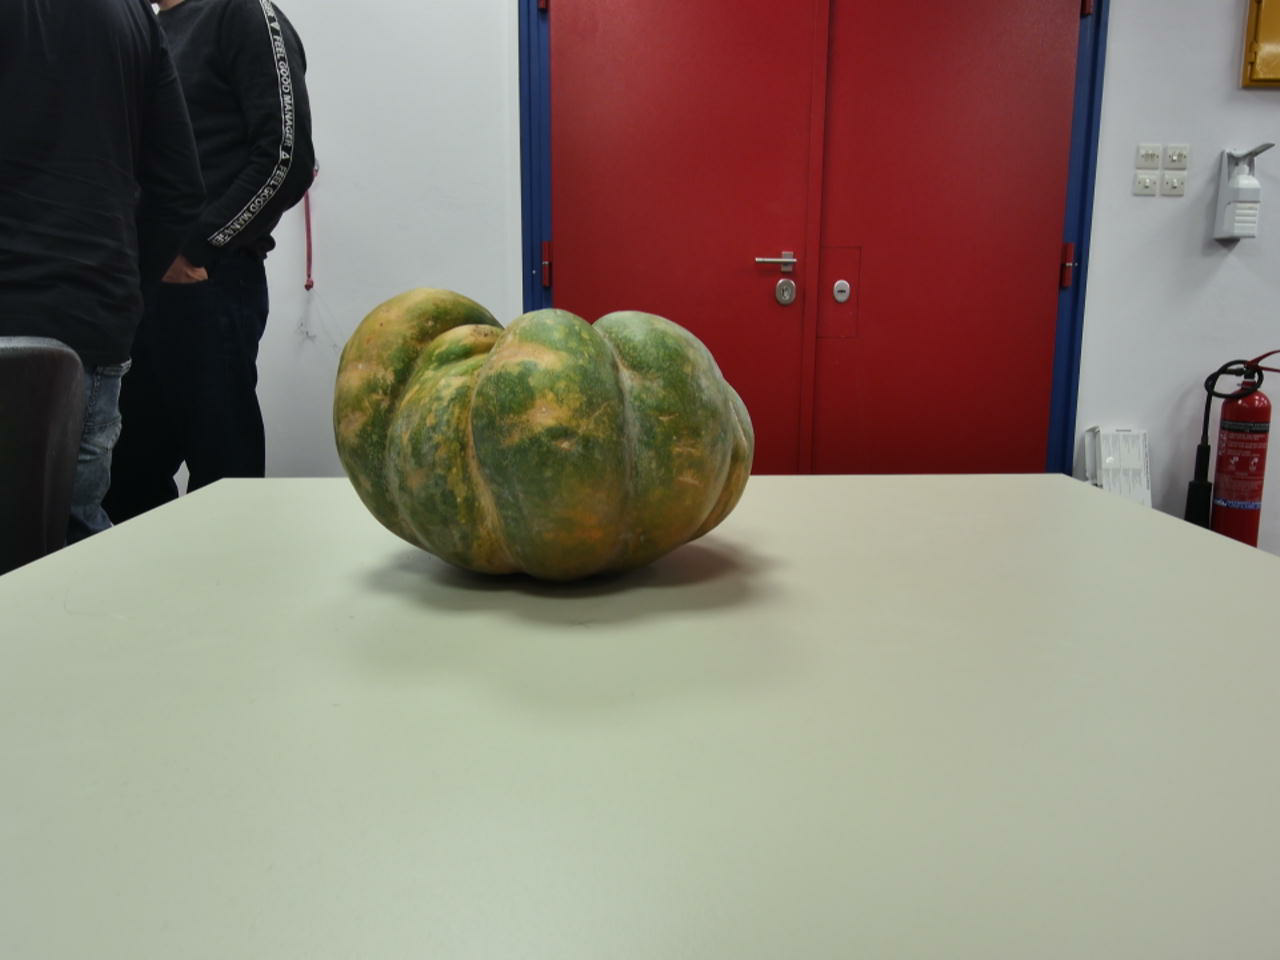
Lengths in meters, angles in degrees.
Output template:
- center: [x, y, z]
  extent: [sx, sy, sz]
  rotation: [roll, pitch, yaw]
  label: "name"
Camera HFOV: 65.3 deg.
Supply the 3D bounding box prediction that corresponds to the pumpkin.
- center: [-0.059, -0.031, 0.630]
  extent: [0.270, 0.173, 0.237]
  rotation: [6, 10, 36]
  label: "pumpkin"
